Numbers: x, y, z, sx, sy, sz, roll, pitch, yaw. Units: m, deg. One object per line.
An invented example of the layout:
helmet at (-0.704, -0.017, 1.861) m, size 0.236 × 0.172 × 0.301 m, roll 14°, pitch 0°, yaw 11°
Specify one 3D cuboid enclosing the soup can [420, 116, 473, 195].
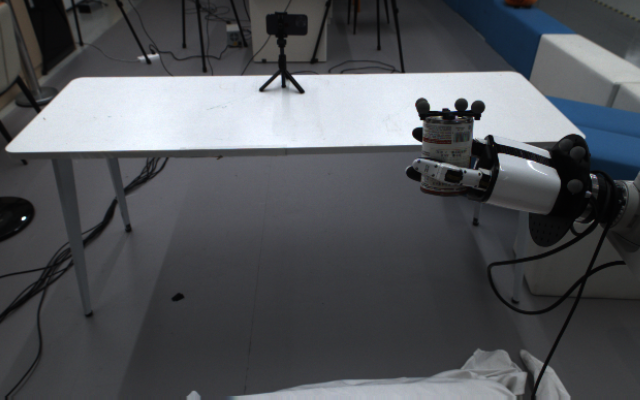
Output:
soup can at (0.175, -0.063, 0.662) m, size 0.067 × 0.101 × 0.067 m, roll -1°, pitch 17°, yaw 0°
